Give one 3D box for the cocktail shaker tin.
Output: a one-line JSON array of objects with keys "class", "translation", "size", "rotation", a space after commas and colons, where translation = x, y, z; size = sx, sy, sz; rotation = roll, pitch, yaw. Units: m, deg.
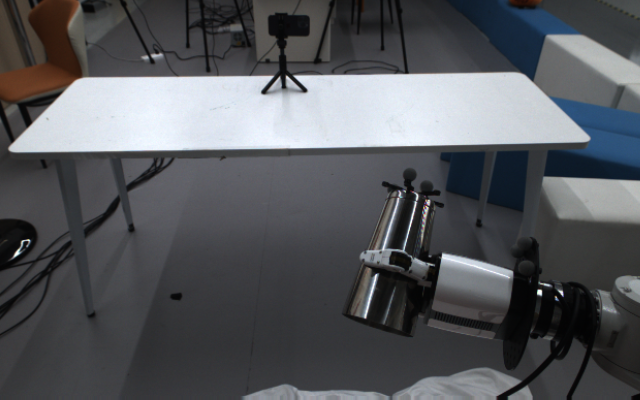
[{"class": "cocktail shaker tin", "translation": [0.096, 0.078, 0.618], "size": [0.093, 0.093, 0.170], "rotation": [14, 73, 17]}]
